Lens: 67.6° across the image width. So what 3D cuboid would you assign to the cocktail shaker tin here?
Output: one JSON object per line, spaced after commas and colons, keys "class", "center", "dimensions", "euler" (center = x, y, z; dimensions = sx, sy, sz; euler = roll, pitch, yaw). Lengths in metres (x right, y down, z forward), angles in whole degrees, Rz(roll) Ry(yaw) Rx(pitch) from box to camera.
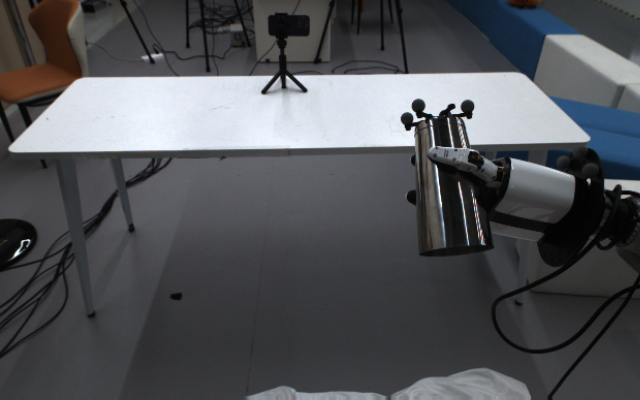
{"class": "cocktail shaker tin", "center": [0.166, -0.018, 0.627], "dimensions": [0.093, 0.093, 0.170], "euler": [-3, 77, -8]}
